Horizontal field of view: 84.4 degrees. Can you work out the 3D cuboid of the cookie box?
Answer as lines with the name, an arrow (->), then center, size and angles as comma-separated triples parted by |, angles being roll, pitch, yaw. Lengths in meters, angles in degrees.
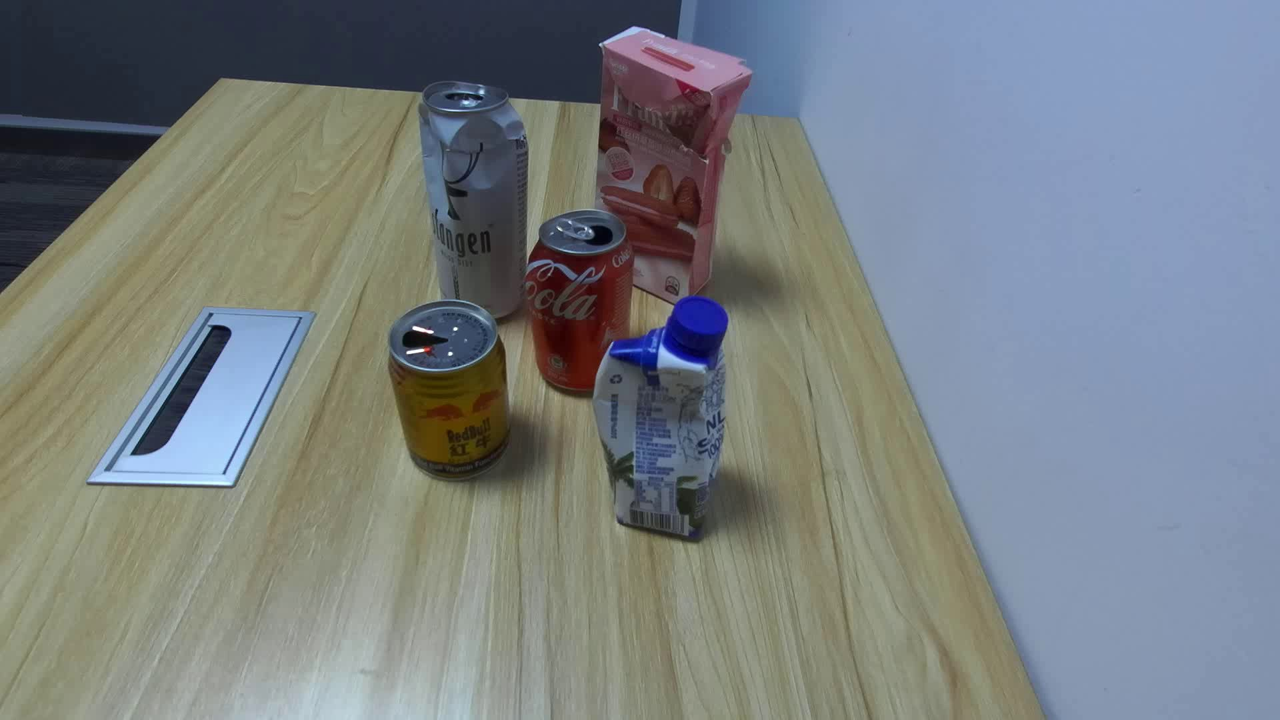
cookie box -> 0.016, -0.138, 0.533 | 0.104, 0.186, 0.059 | 30, 49, 22

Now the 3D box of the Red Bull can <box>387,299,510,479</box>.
Red Bull can -> -0.113, 0.019, 0.427 | 0.067, 0.093, 0.067 | 3, 43, -2

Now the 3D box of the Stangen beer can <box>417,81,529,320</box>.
Stangen beer can -> -0.116, -0.109, 0.503 | 0.066, 0.166, 0.065 | -18, 49, -24

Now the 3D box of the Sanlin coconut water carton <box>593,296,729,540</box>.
Sanlin coconut water carton -> 0.013, 0.028, 0.392 | 0.068, 0.145, 0.057 | 3, 36, 8

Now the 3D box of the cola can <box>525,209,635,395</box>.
cola can -> -0.038, -0.036, 0.473 | 0.072, 0.117, 0.065 | -27, 52, -31
